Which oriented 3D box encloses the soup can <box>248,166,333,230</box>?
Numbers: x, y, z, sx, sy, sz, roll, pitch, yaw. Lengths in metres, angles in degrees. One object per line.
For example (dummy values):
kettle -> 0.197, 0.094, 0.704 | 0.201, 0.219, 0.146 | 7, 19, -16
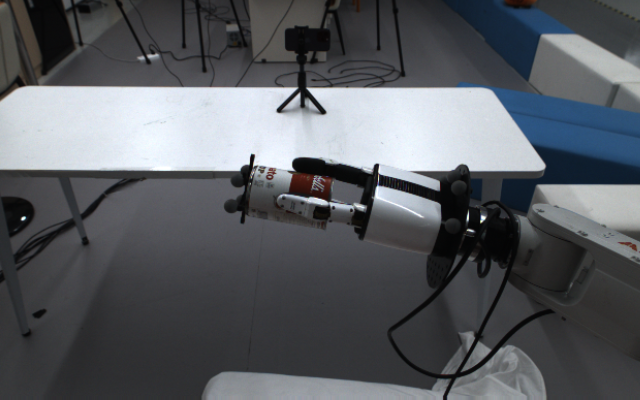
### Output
soup can -> -0.035, -0.003, 0.612 | 0.101, 0.067, 0.067 | 10, 35, 0
